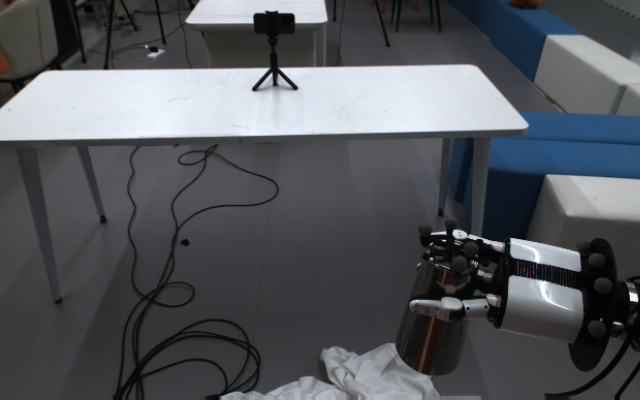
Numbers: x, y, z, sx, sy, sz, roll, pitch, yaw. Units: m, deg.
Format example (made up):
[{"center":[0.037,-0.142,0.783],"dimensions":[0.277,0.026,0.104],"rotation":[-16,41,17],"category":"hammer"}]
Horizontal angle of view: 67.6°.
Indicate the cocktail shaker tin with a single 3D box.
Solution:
[{"center":[0.158,0.134,0.637],"dimensions":[0.093,0.170,0.093],"rotation":[3,33,-2],"category":"cocktail shaker tin"}]
